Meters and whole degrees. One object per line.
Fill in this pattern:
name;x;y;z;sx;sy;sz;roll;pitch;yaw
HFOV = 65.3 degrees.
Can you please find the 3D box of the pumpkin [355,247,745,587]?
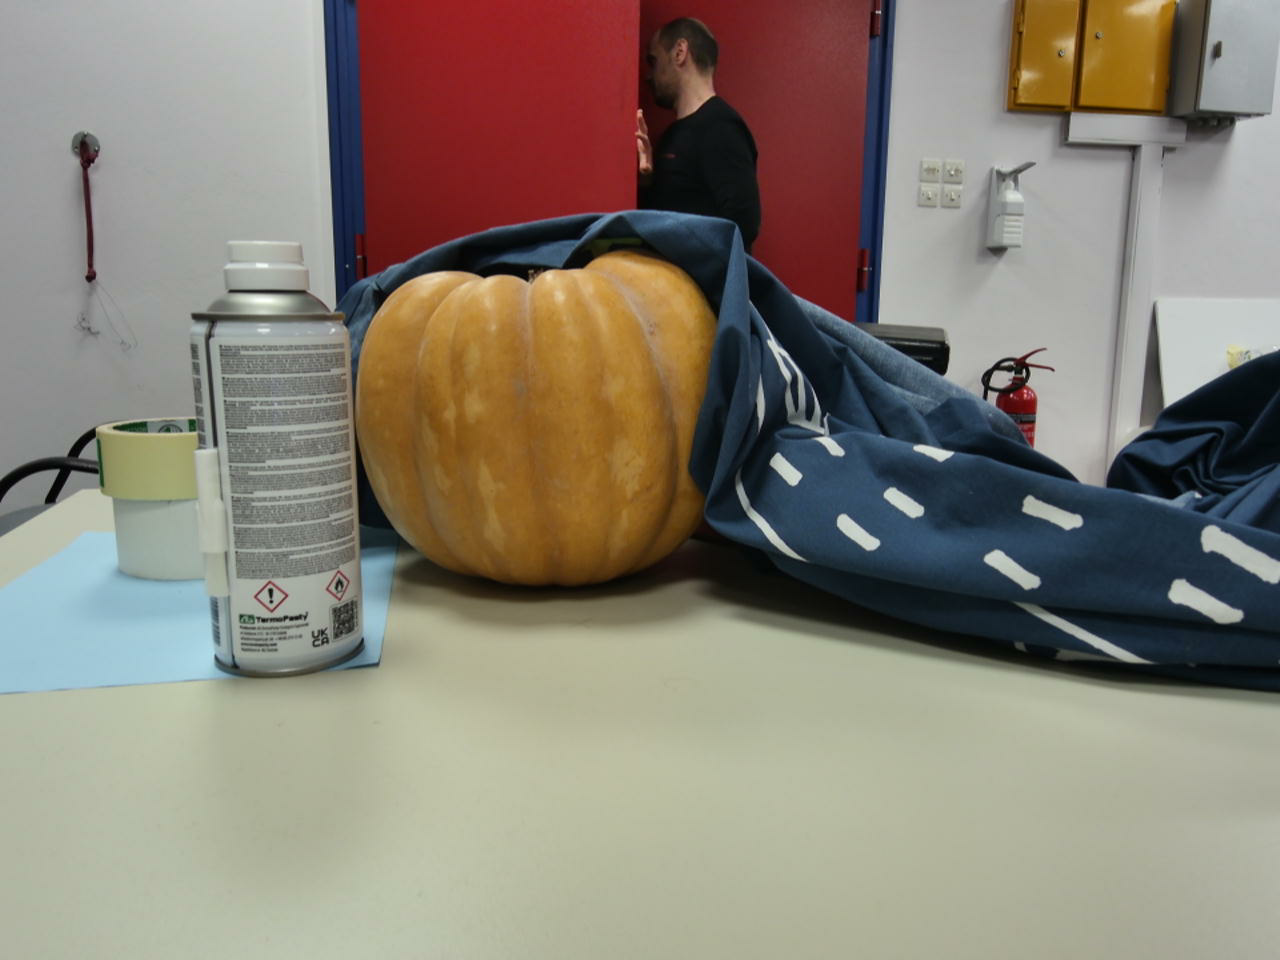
pumpkin;-0.048;-0.038;0.592;0.230;0.194;0.230;0;8;0
